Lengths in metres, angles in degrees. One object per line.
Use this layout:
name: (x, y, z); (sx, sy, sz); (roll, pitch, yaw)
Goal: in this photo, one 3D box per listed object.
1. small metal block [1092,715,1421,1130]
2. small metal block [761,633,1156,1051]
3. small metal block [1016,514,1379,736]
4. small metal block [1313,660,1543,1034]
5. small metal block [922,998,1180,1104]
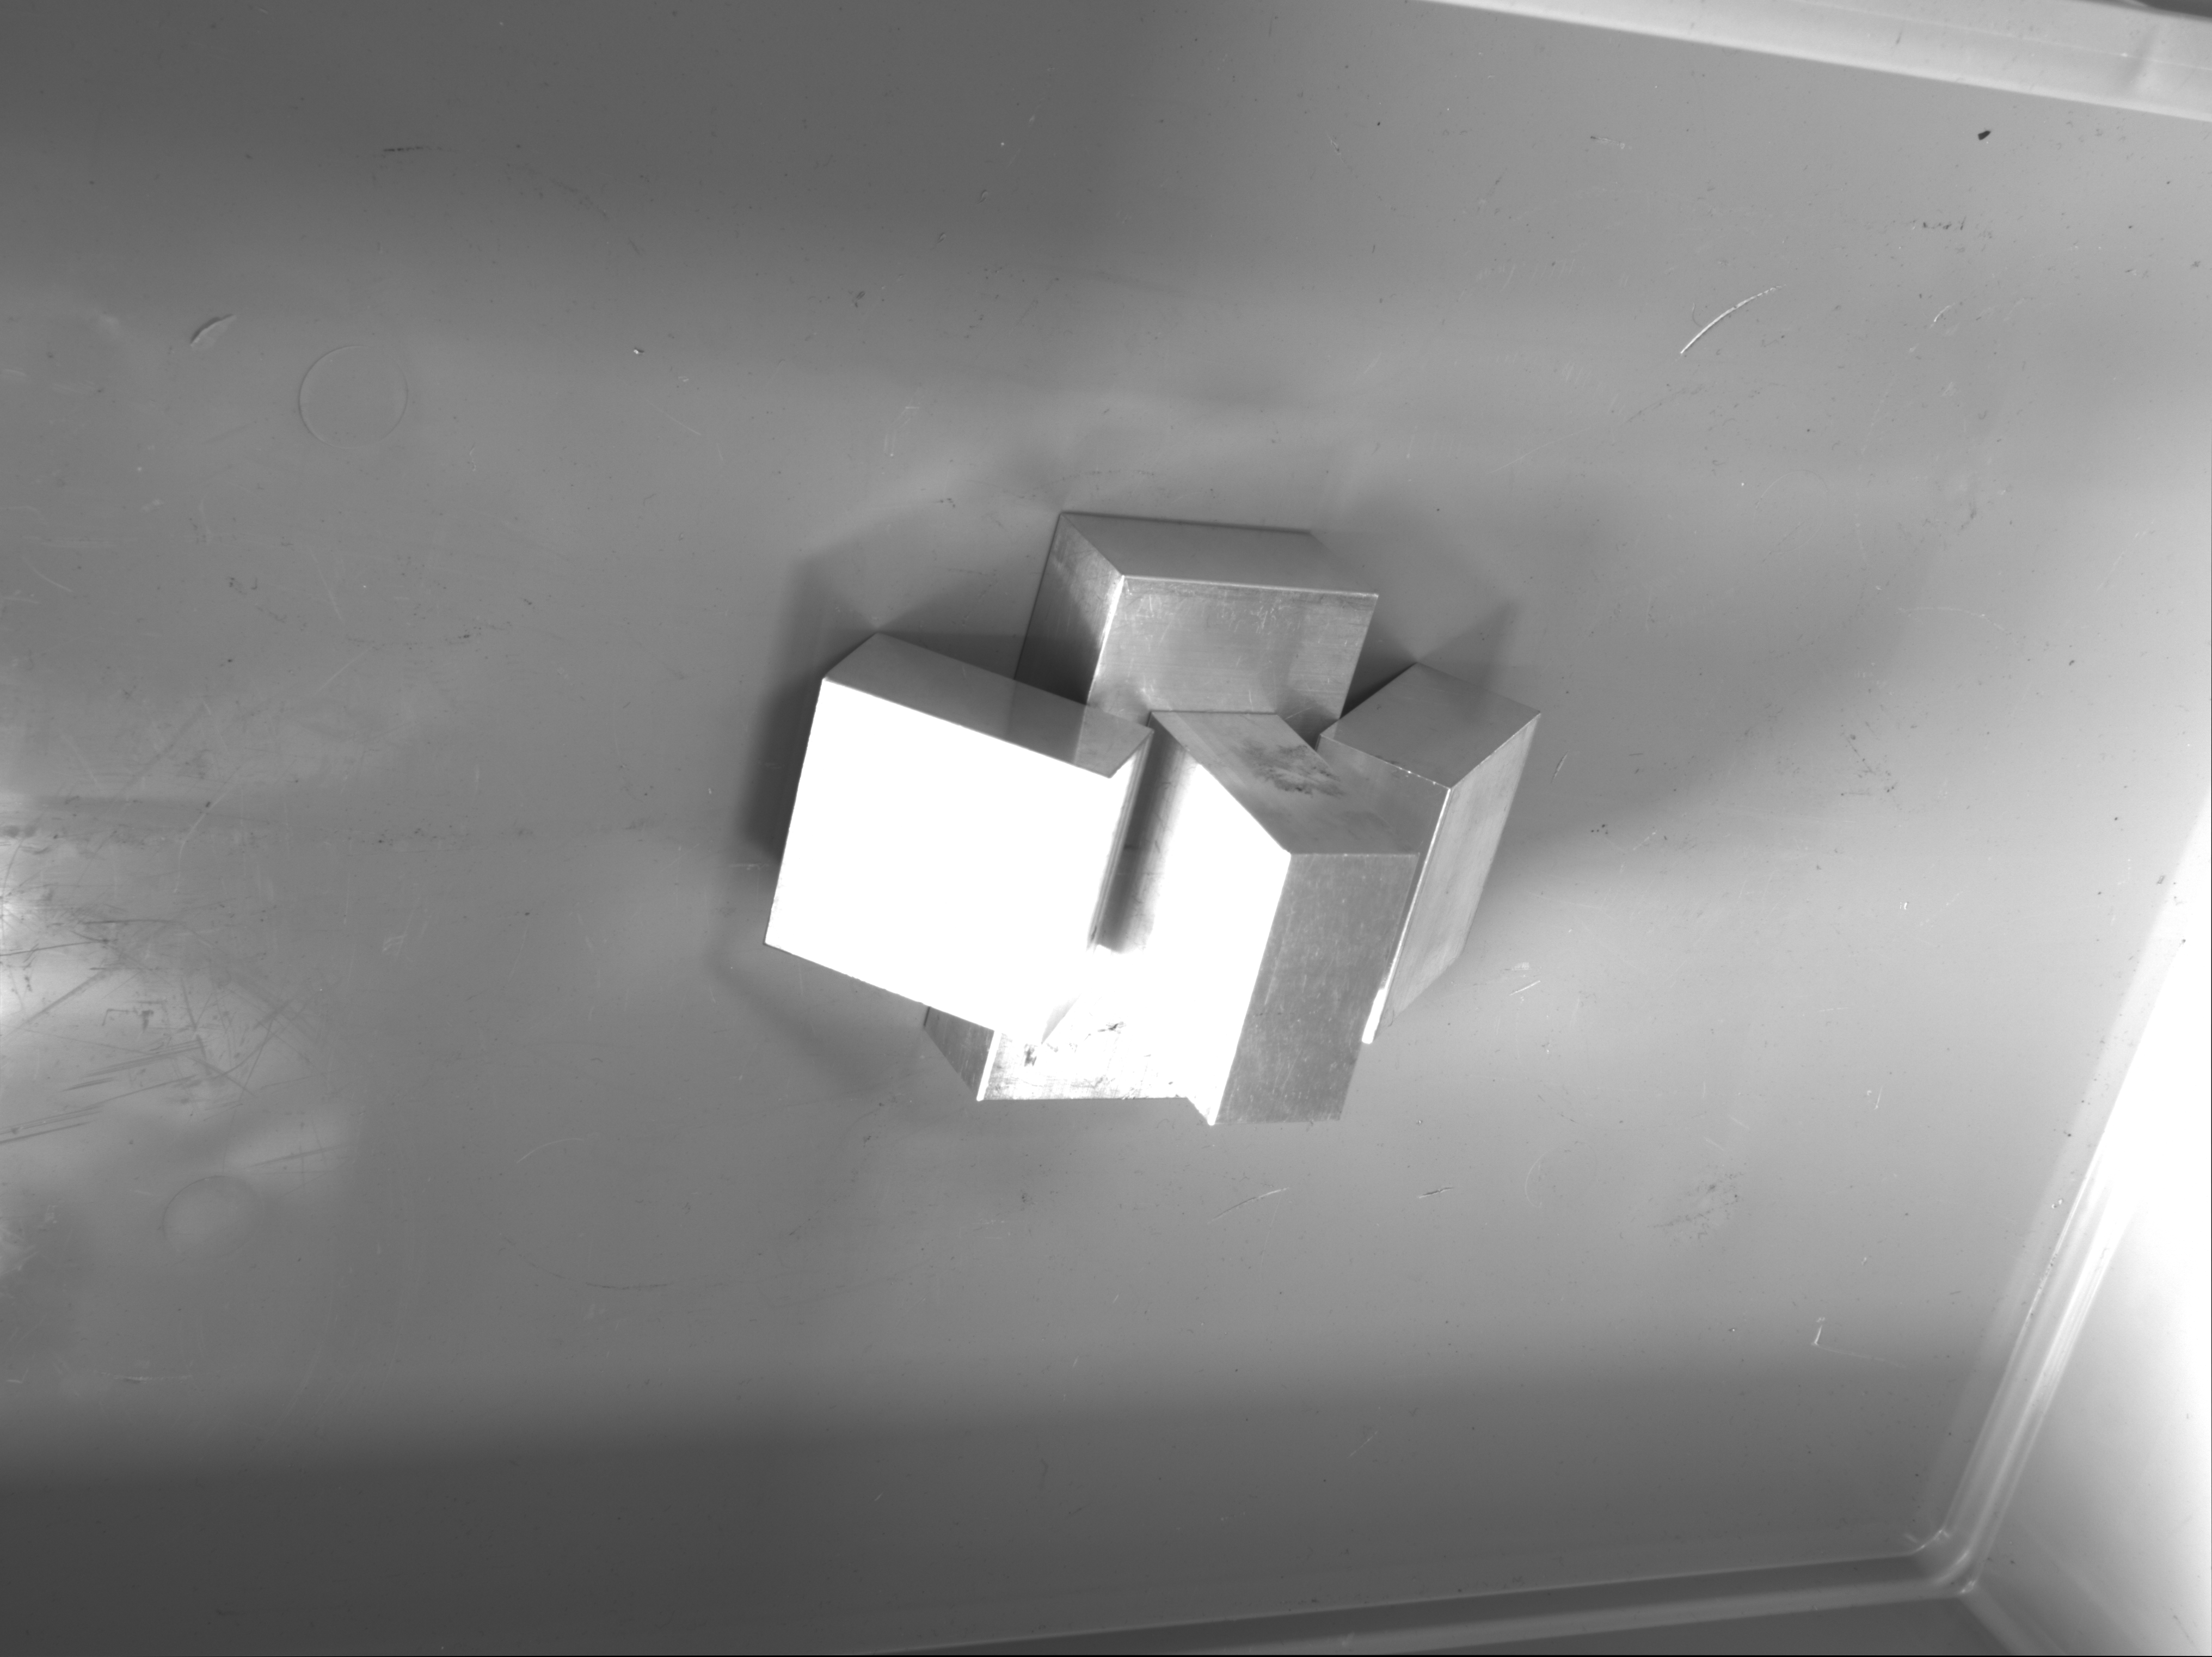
small metal block: (0.023, 0.015, 0.608); (0.025, 0.050, 0.050); (0, 118, -29)
small metal block: (-0.025, 0.002, 0.606); (0.050, 0.025, 0.050); (20, 115, 11)
small metal block: (0.013, -0.024, 0.627); (0.050, 0.025, 0.050); (2, 117, -30)
small metal block: (0.051, 0.003, 0.649); (0.050, 0.025, 0.050); (-34, 144, -60)
small metal block: (0.001, 0.021, 0.648); (0.050, 0.025, 0.050); (3, 117, -29)
